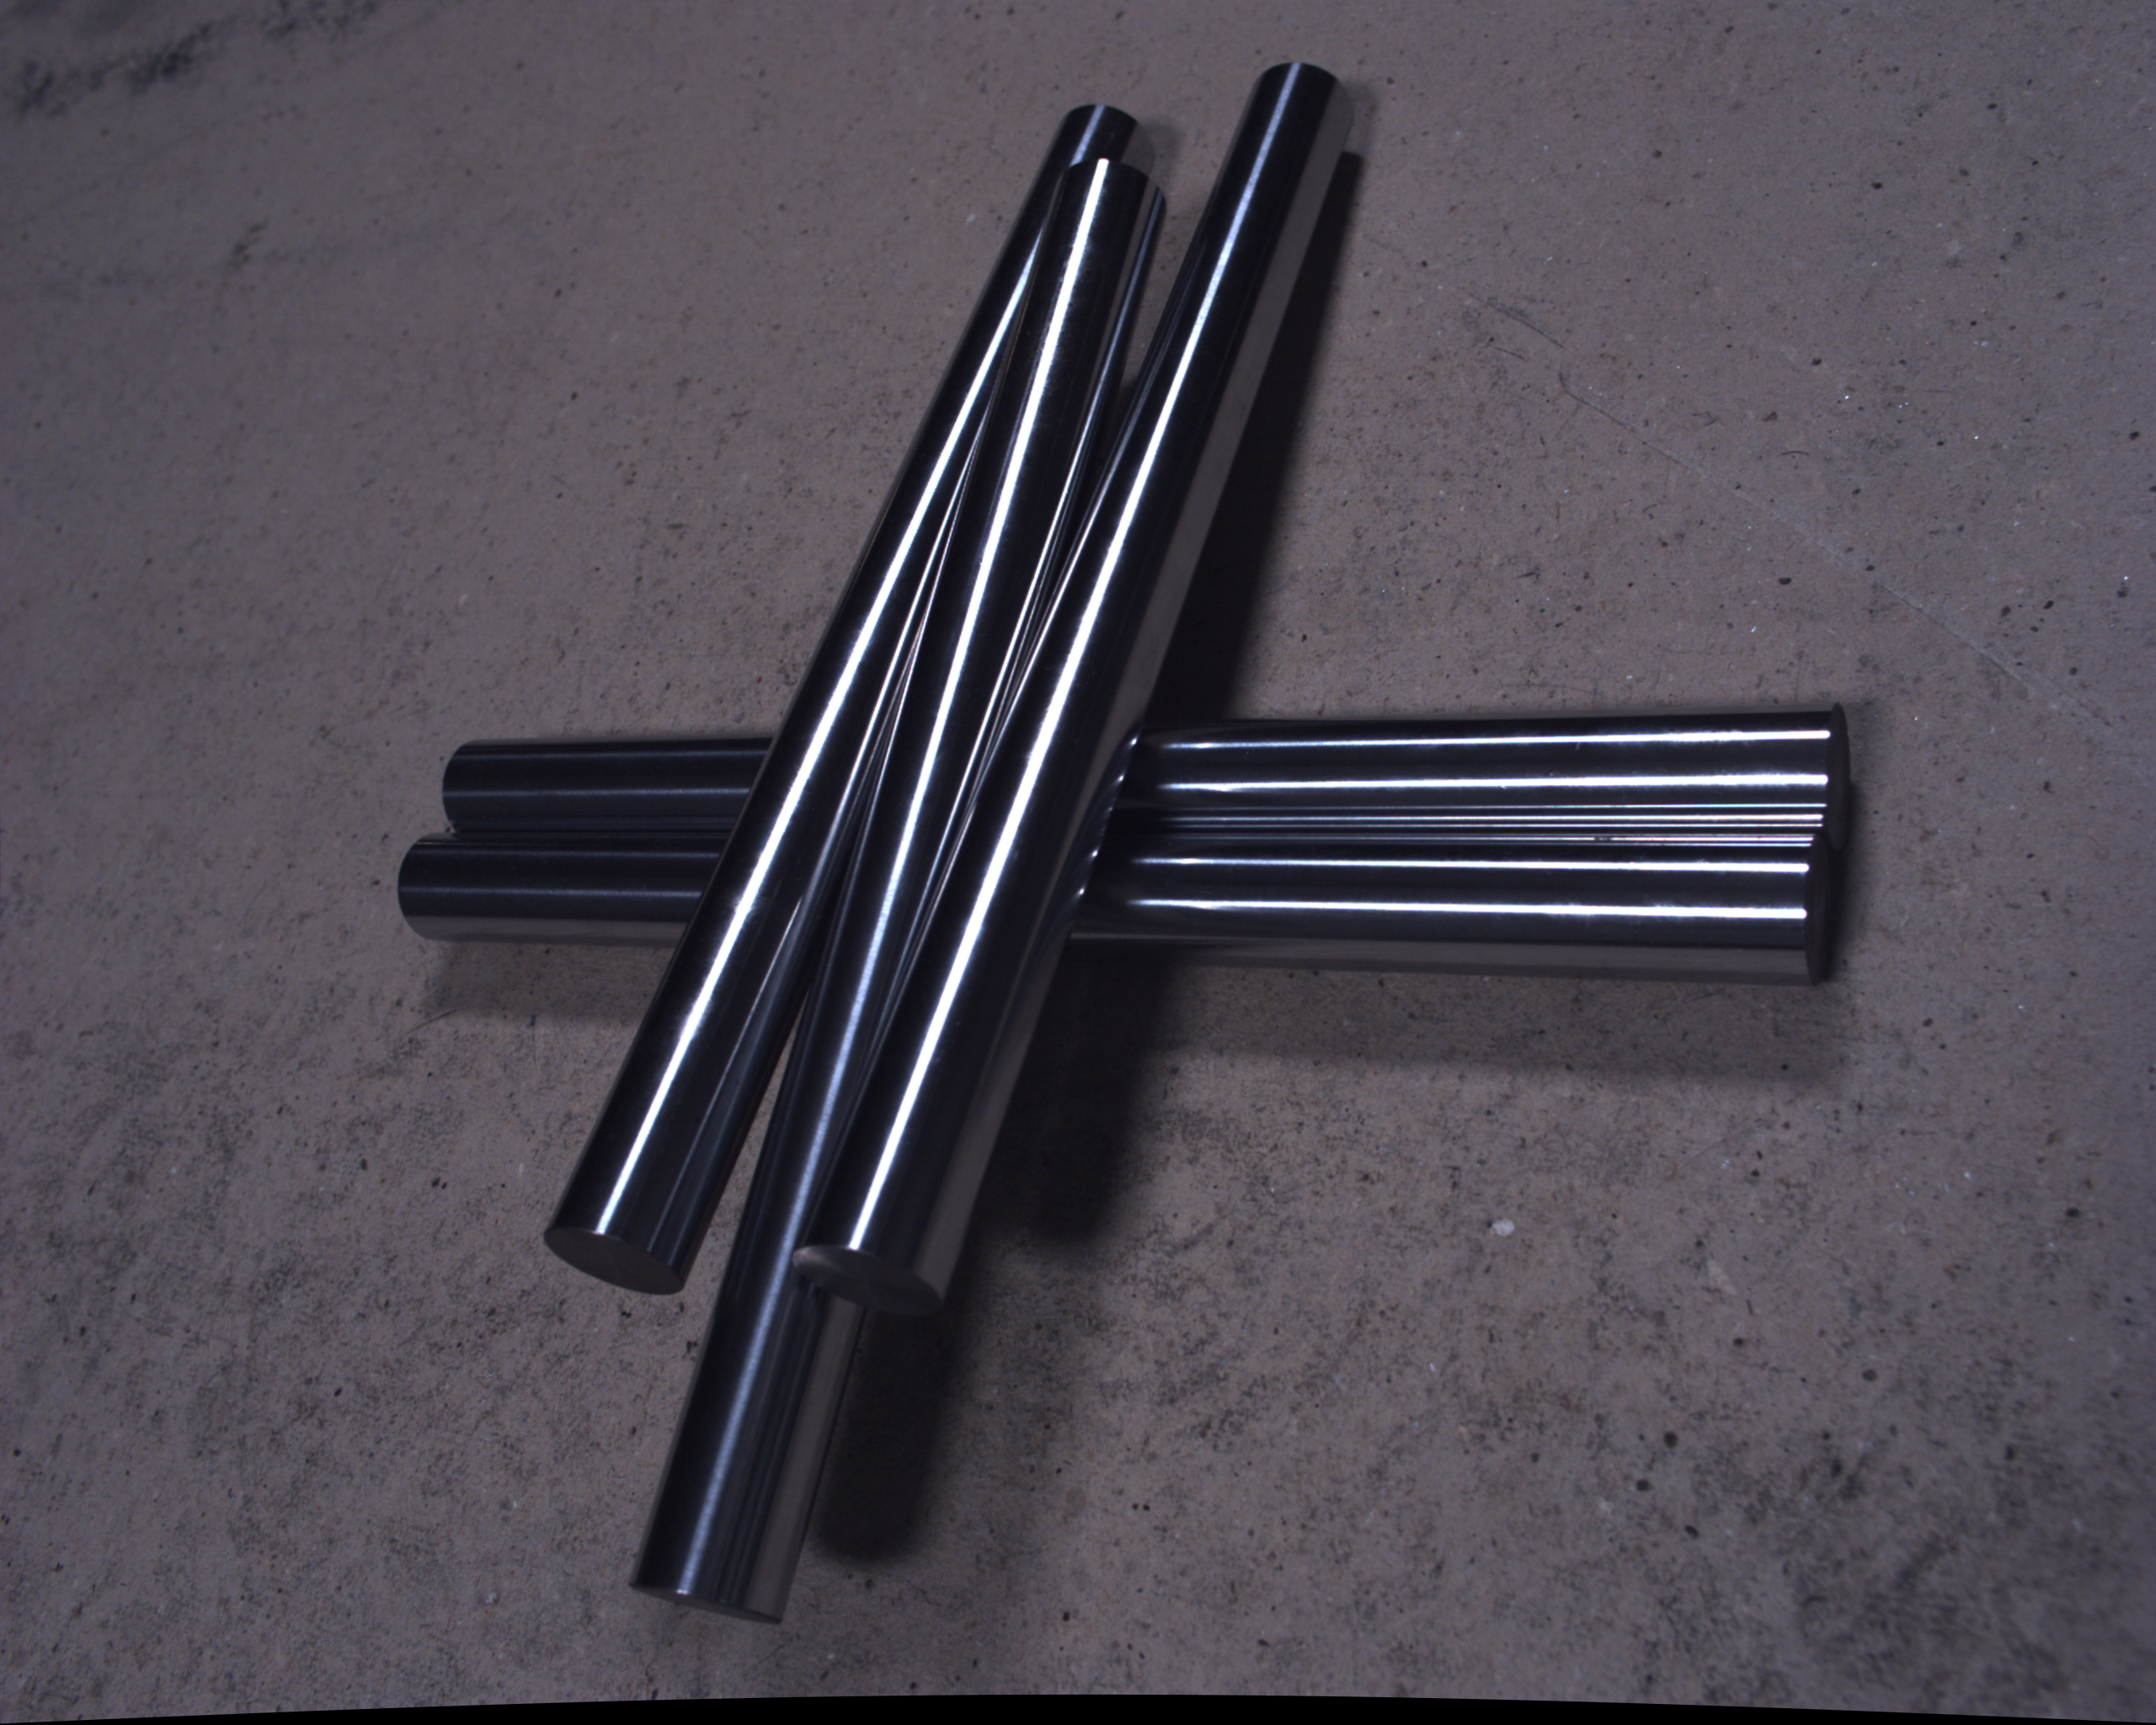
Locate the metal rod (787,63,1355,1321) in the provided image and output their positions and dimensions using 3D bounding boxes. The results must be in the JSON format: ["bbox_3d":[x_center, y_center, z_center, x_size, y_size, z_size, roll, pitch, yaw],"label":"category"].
[{"bbox_3d":[0.009,-0.054,0.405,0.025,0.025,0.300,1,54,28],"label":"metal rod"}]

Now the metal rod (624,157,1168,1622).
[{"bbox_3d":[-0.026,-0.014,0.393,0.025,0.025,0.300,0,61,28],"label":"metal rod"}]

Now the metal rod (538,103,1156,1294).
[{"bbox_3d":[-0.036,-0.054,0.429,0.025,0.025,0.300,1,54,28],"label":"metal rod"}]

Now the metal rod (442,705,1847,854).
[{"bbox_3d":[-0.006,-0.015,0.418,0.300,0.025,0.025,0,62,28],"label":"metal rod"}]

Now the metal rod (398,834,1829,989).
[{"bbox_3d":[-0.013,0.007,0.408,0.300,0.025,0.025,0,62,28],"label":"metal rod"}]
